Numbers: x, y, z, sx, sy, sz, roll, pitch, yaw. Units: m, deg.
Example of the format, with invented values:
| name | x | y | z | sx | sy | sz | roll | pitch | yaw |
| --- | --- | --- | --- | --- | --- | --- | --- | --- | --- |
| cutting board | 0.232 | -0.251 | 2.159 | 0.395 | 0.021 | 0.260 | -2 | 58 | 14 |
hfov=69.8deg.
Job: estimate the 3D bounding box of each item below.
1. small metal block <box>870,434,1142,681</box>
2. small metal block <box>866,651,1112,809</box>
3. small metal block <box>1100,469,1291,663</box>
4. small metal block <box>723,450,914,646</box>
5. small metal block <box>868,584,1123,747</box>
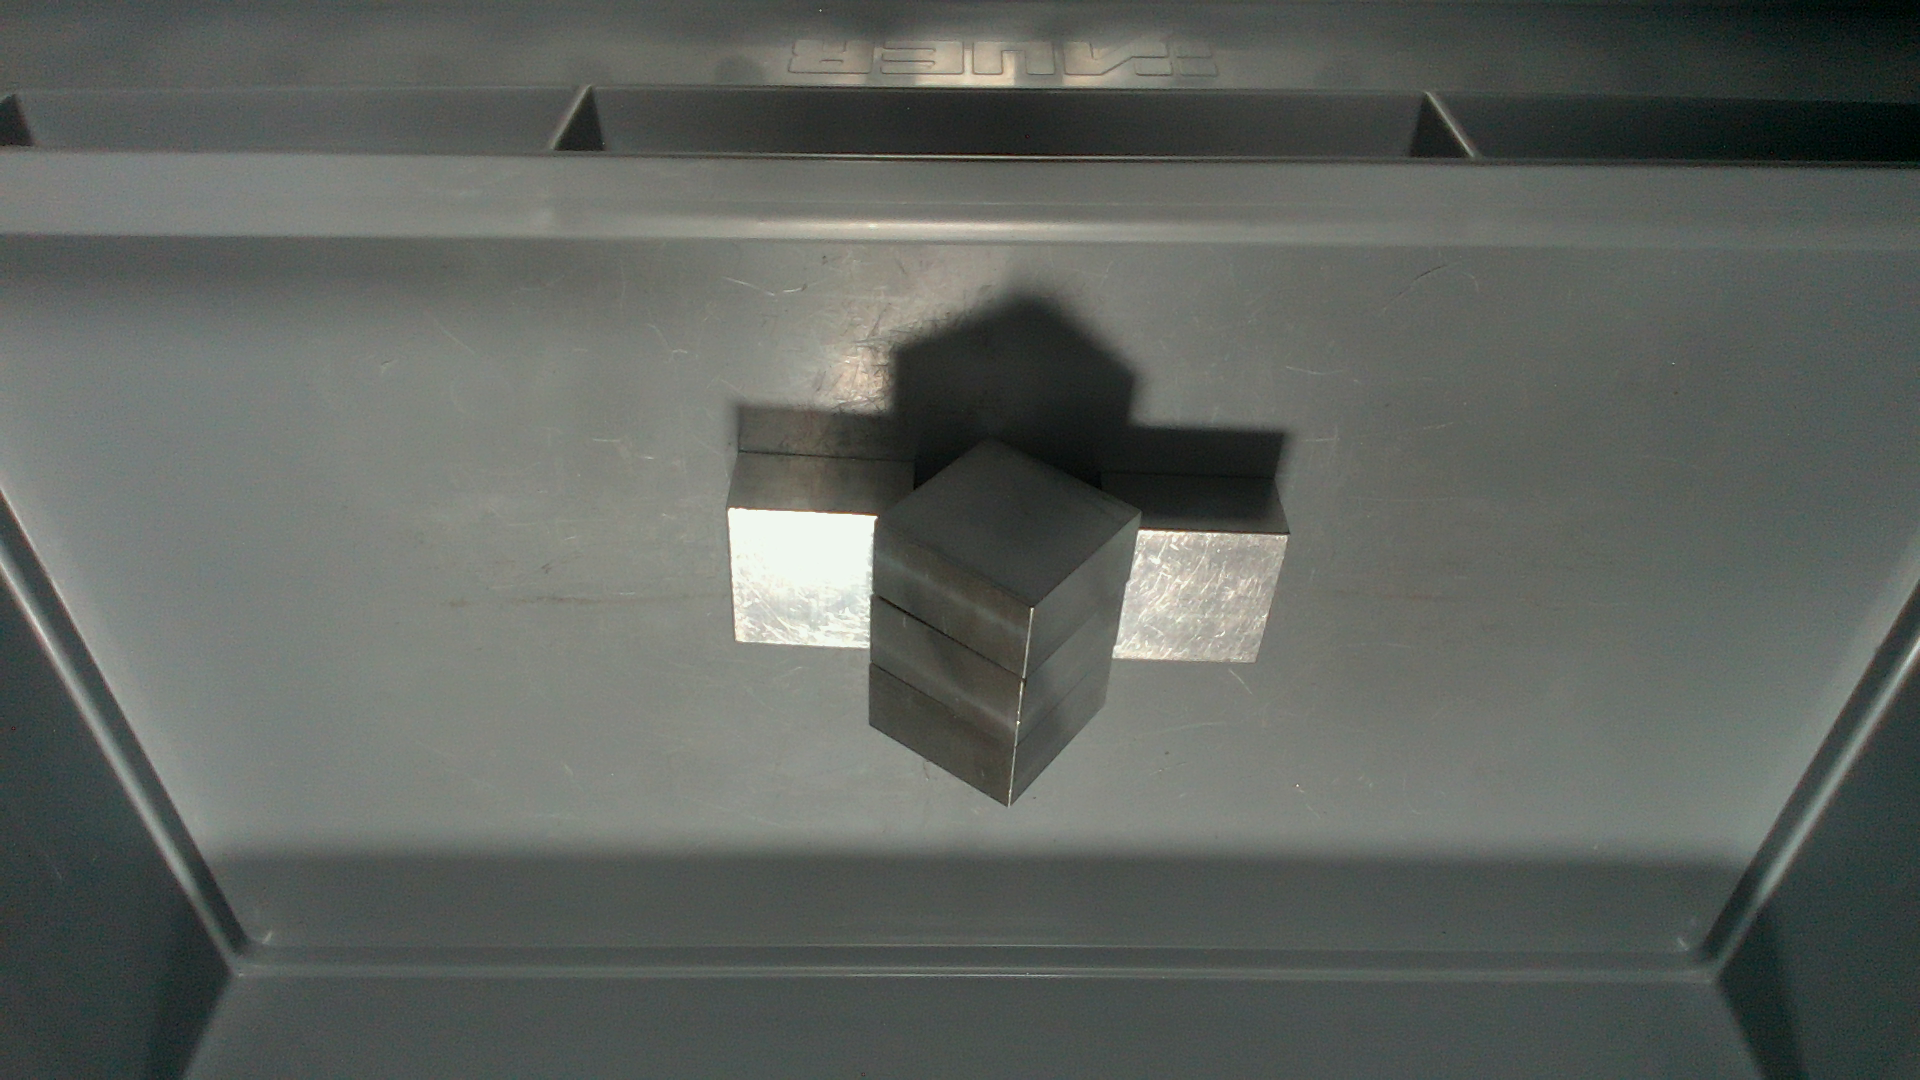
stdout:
| name | x | y | z | sx | sy | sz | roll | pitch | yaw |
| --- | --- | --- | --- | --- | --- | --- | --- | --- | --- |
| small metal block | 0.012 | 0.003 | 0.362 | 0.050 | 0.050 | 0.025 | 27 | 135 | 25 |
| small metal block | 0.008 | 0.041 | 0.395 | 0.050 | 0.050 | 0.025 | 27 | 135 | 26 |
| small metal block | 0.063 | 0.008 | 0.396 | 0.050 | 0.025 | 0.050 | 2 | 130 | -2 |
| small metal block | -0.039 | 0.003 | 0.391 | 0.050 | 0.025 | 0.050 | 3 | 130 | -2 |
| small metal block | 0.010 | 0.022 | 0.378 | 0.050 | 0.050 | 0.025 | 27 | 135 | 26 |
